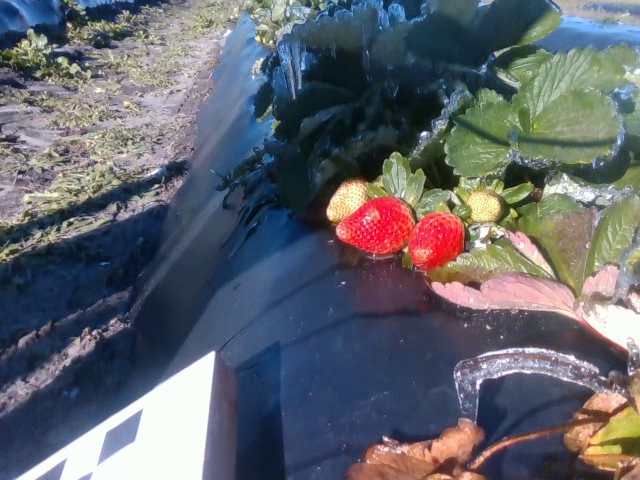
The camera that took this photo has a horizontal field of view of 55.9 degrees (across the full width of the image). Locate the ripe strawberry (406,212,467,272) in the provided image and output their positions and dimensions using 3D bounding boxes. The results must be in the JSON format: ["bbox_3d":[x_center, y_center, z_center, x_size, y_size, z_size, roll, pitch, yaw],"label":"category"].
[{"bbox_3d":[0.063,0.001,0.327,0.036,0.030,0.041,-21,24,34],"label":"ripe strawberry"}]

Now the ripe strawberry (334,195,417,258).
[{"bbox_3d":[0.028,-0.006,0.345,0.052,0.039,0.037,-8,5,-36],"label":"ripe strawberry"}]
